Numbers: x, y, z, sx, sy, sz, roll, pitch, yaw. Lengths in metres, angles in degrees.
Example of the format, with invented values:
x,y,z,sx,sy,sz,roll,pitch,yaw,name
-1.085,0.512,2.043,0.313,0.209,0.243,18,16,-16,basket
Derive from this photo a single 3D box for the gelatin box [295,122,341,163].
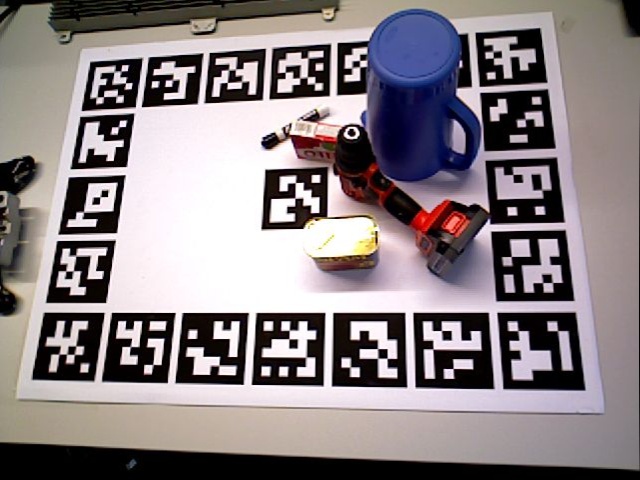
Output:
x,y,z,sx,sy,sz,roll,pitch,yaw,name
0.013,-0.140,0.803,0.089,0.073,0.030,10,77,10,gelatin box

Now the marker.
x,y,z,sx,sy,sz,roll,pitch,yaw,name
-0.036,-0.184,0.849,0.121,0.020,0.019,-26,71,2,marker

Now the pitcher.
x,y,z,sx,sy,sz,roll,pitch,yaw,name
0.146,-0.170,0.708,0.189,0.243,0.133,31,82,23,pitcher

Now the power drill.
x,y,z,sx,sy,sz,roll,pitch,yaw,name
0.097,-0.064,0.708,0.187,0.185,0.057,35,82,11,power drill

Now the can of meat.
x,y,z,sx,sy,sz,roll,pitch,yaw,name
0.034,0.013,0.745,0.102,0.084,0.057,-1,70,8,can of meat
